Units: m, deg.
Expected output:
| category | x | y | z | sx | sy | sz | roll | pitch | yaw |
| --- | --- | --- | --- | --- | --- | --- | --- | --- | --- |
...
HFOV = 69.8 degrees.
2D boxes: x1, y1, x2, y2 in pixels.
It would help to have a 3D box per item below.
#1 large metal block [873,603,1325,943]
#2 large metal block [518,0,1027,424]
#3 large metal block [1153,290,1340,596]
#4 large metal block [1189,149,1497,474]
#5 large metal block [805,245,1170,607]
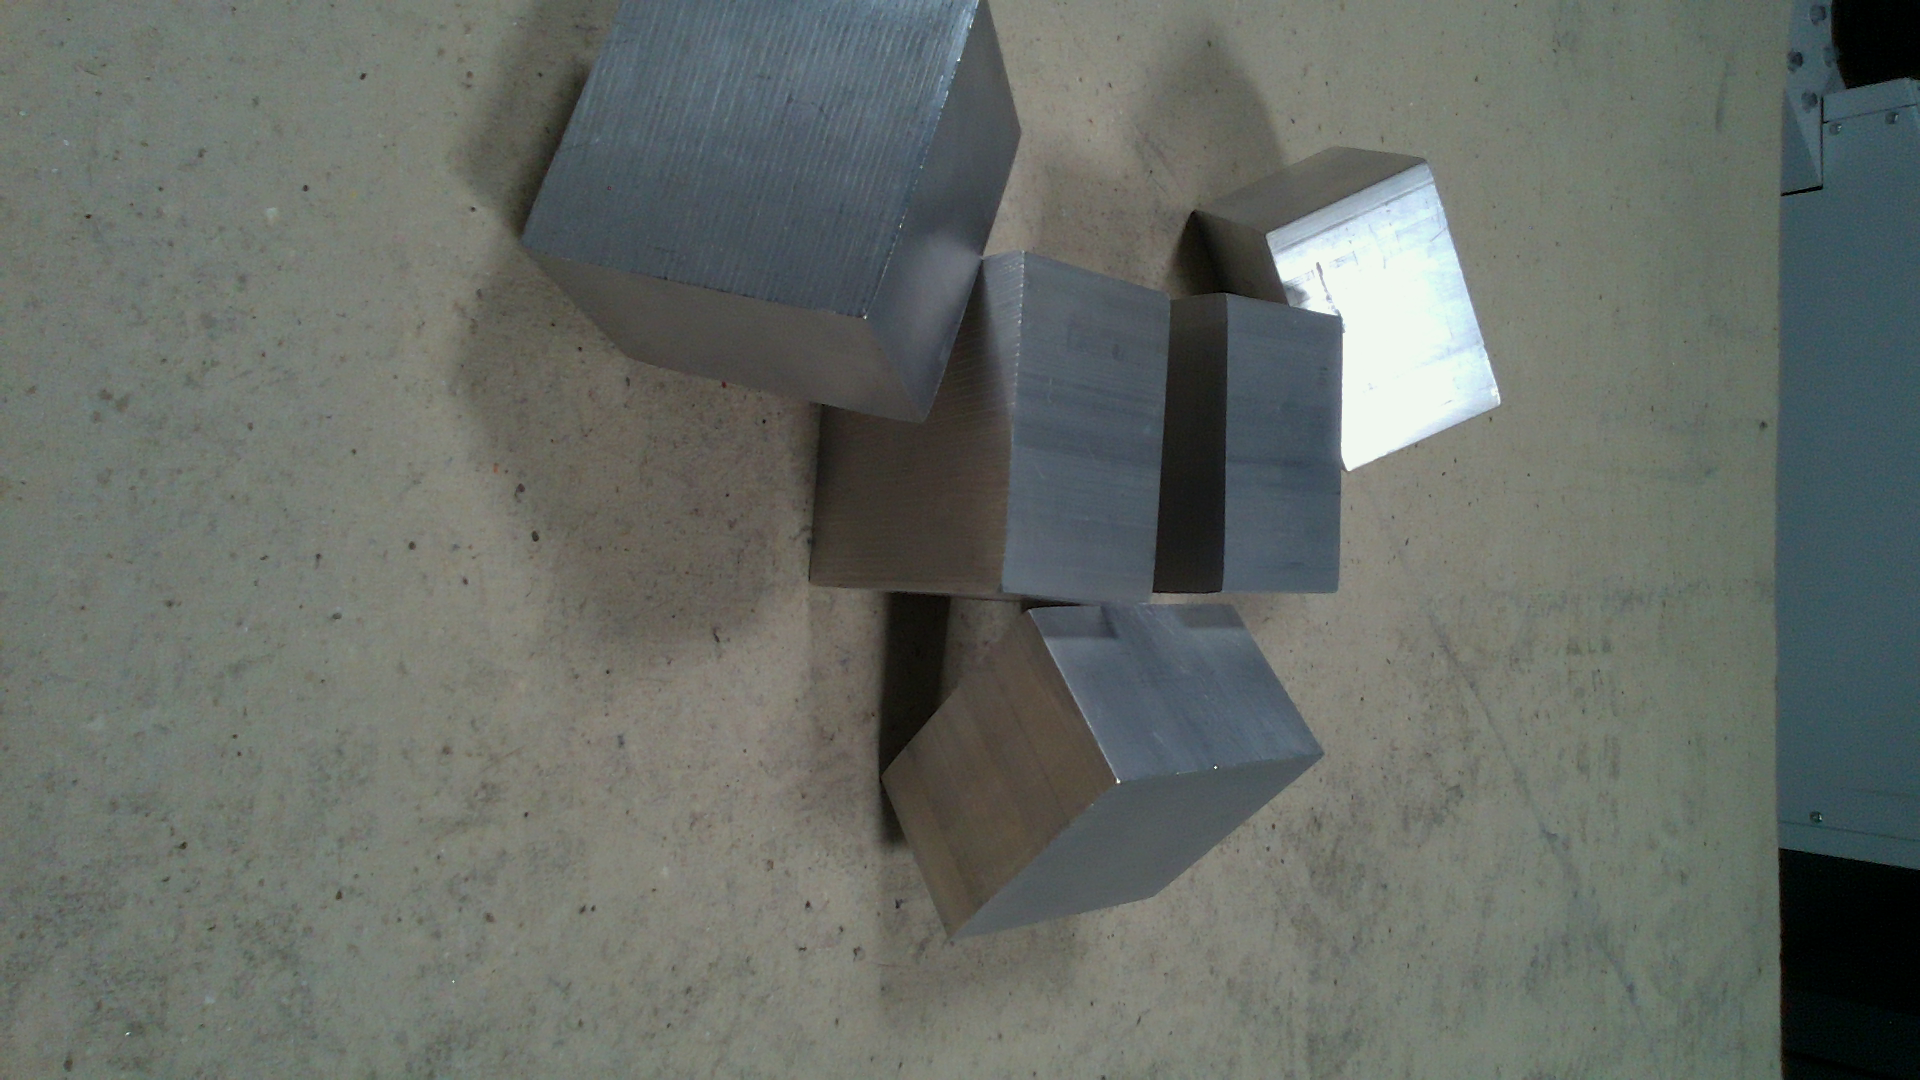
| category | x | y | z | sx | sy | sz | roll | pitch | yaw |
| --- | --- | --- | --- | --- | --- | --- | --- | --- | --- |
| large metal block | 0.036 | 0.062 | 0.376 | 0.080 | 0.080 | 0.050 | 1 | 50 | -40 |
| large metal block | -0.038 | -0.080 | 0.310 | 0.050 | 0.080 | 0.080 | 58 | 48 | -68 |
| large metal block | 0.063 | -0.025 | 0.406 | 0.050 | 0.080 | 0.080 | 1 | 89 | -40 |
| large metal block | 0.121 | -0.077 | 0.446 | 0.050 | 0.080 | 0.080 | -24 | 109 | 2 |
| large metal block | 0.005 | -0.025 | 0.358 | 0.050 | 0.080 | 0.080 | 6 | 86 | -40 |
